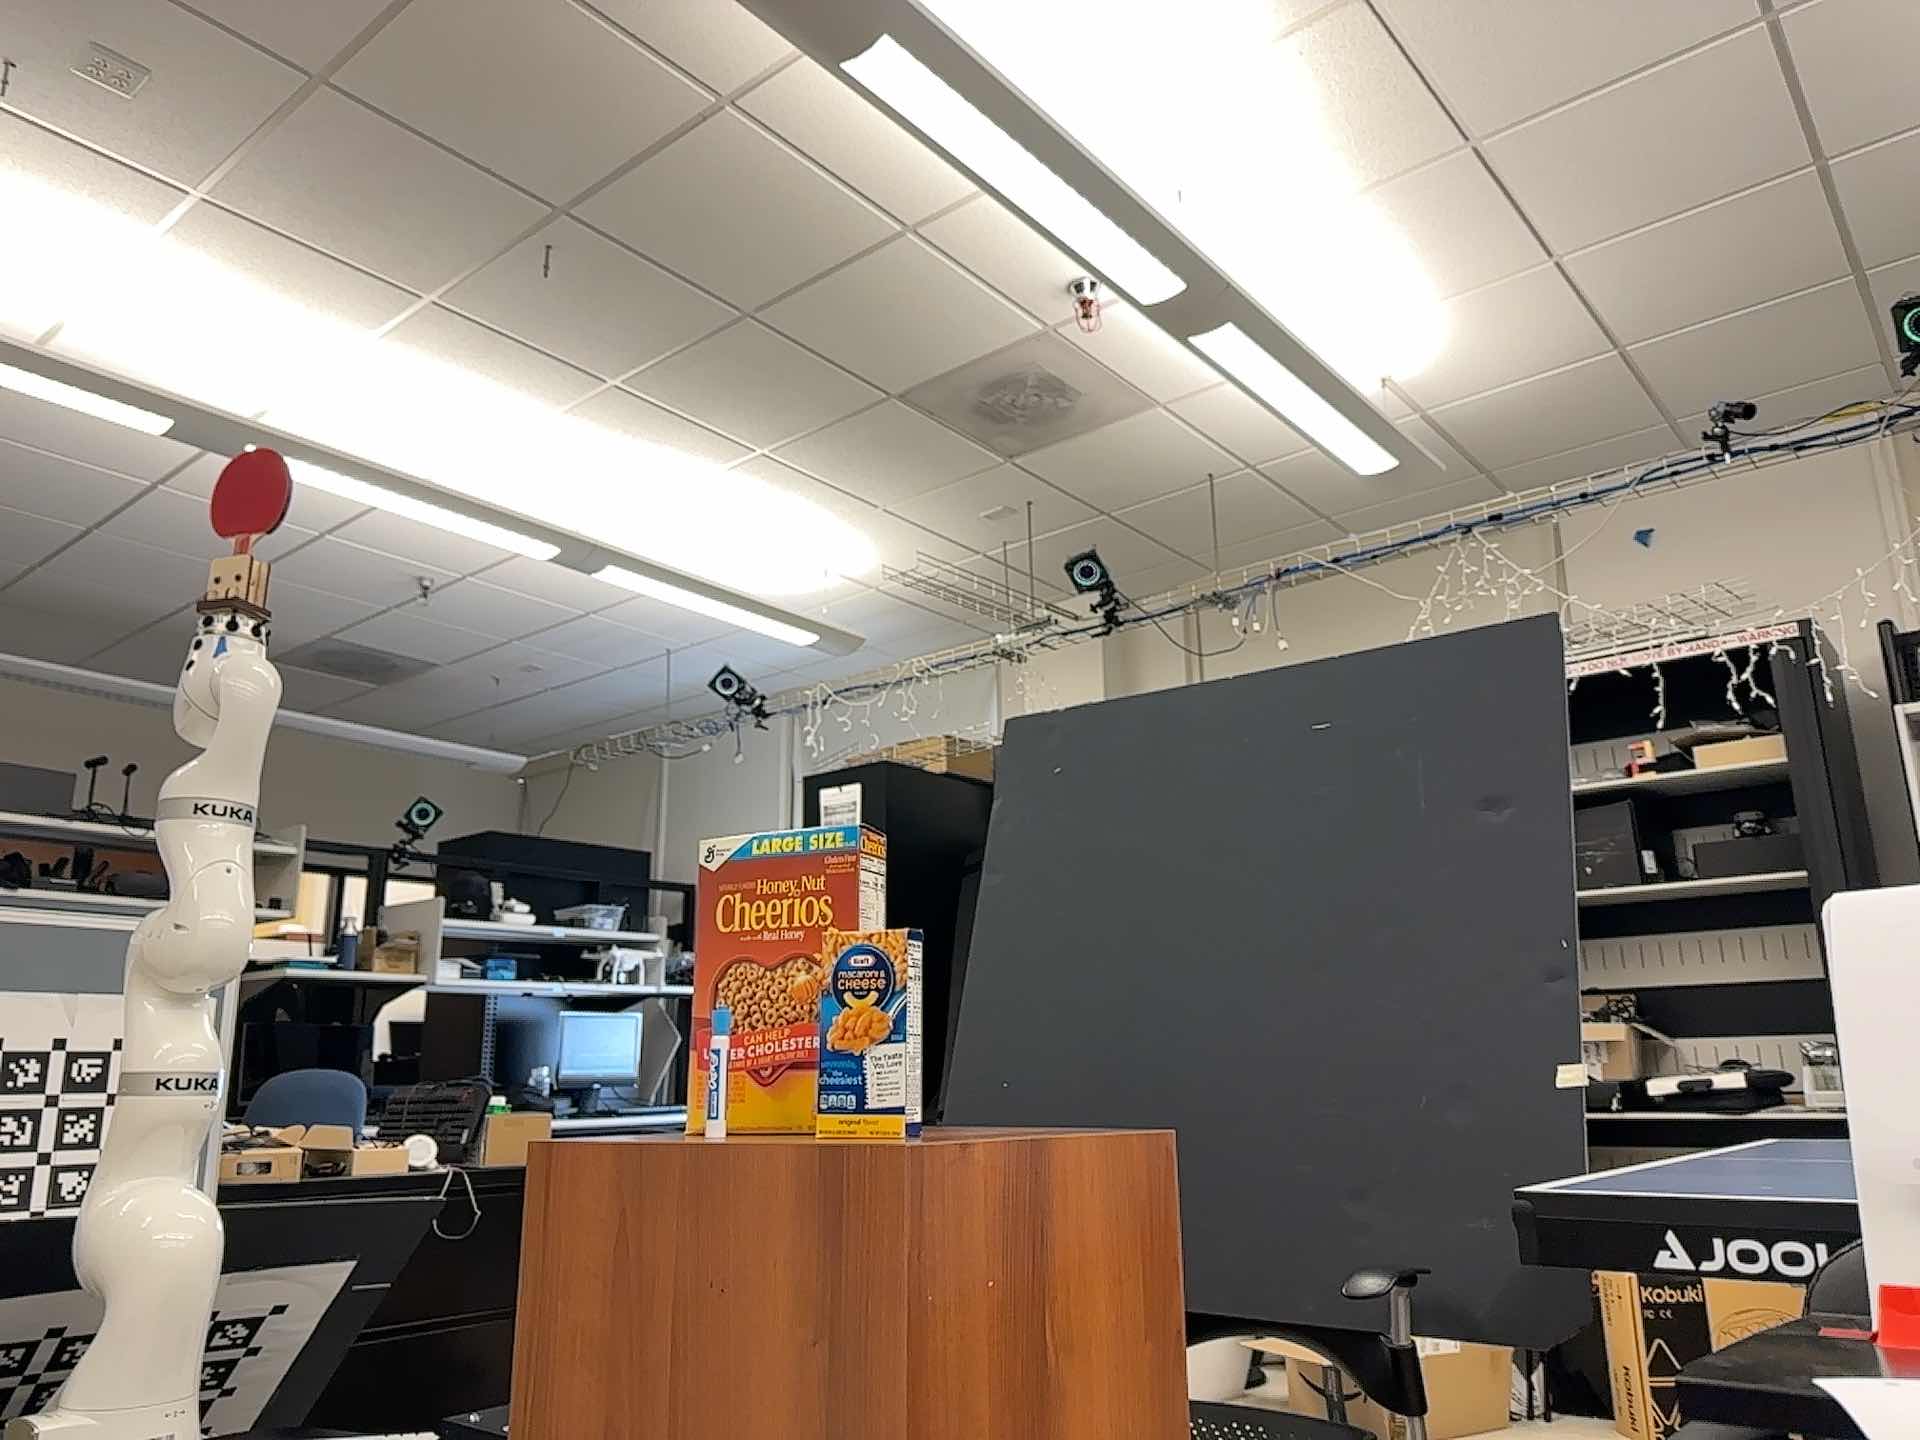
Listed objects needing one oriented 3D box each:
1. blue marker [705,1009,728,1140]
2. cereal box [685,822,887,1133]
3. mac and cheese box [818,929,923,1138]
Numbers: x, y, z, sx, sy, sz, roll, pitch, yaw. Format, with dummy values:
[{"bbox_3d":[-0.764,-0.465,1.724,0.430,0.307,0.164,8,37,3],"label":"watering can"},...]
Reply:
[{"bbox_3d":[-0.235,0.339,1.297,0.020,0.121,0.020,-2,-14,0],"label":"blue marker"},{"bbox_3d":[-0.180,0.269,1.402,0.195,0.297,0.065,-8,-17,26],"label":"cereal box"},{"bbox_3d":[-0.082,0.288,1.241,0.088,0.181,0.035,-10,-18,32],"label":"mac and cheese box"}]
